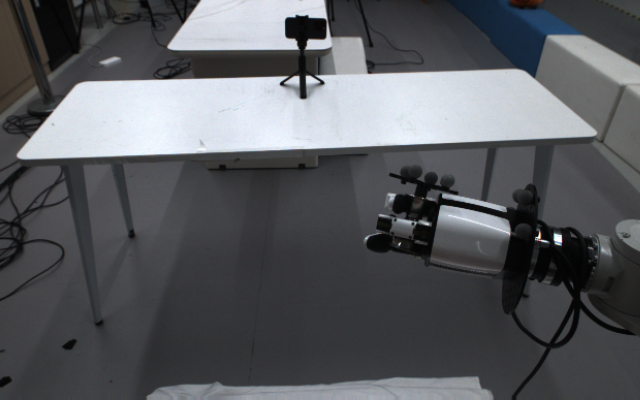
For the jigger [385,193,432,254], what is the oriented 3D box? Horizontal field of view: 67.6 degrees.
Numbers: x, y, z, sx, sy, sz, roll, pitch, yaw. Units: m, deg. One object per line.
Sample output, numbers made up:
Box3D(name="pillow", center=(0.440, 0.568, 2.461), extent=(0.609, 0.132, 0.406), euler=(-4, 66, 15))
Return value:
Box3D(name="jigger", center=(0.117, 0.028, 0.611), extent=(0.043, 0.071, 0.043), euler=(17, 2, -1))
